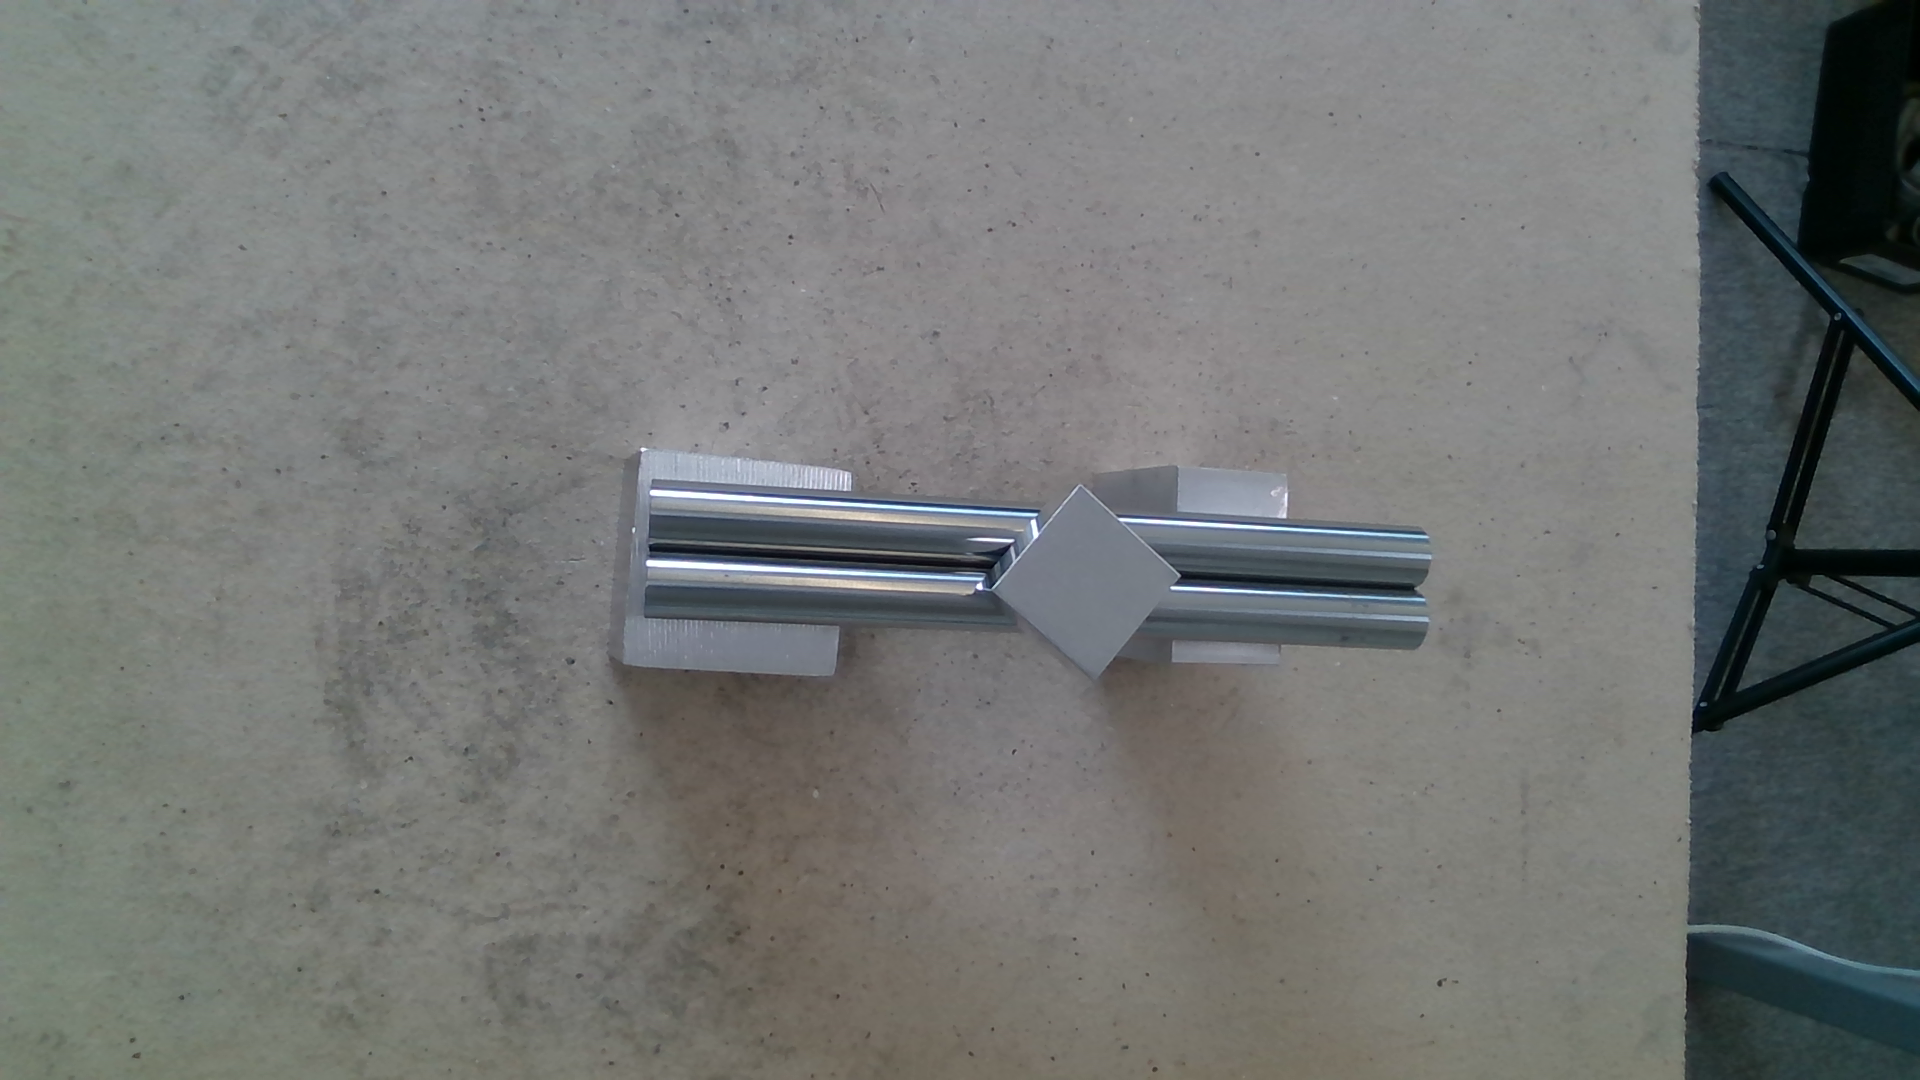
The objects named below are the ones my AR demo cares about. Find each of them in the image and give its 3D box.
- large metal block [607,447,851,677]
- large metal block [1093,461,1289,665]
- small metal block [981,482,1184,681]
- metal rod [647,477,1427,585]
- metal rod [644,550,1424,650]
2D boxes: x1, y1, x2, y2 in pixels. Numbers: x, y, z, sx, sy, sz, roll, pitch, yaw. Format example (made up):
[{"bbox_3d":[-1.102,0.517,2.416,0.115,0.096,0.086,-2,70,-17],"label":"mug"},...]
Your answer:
[{"bbox_3d":[-0.091,0.009,0.539,0.080,0.050,0.080,5,88,-20],"label":"large metal block"},{"bbox_3d":[0.095,0.010,0.593,0.050,0.080,0.080,3,89,-20],"label":"large metal block"},{"bbox_3d":[0.043,0.015,0.498,0.050,0.025,0.050,42,82,-10],"label":"small metal block"},{"bbox_3d":[0.036,-0.002,0.522,0.300,0.025,0.025,3,89,-13],"label":"metal rod"},{"bbox_3d":[0.034,0.024,0.522,0.300,0.025,0.025,3,89,-13],"label":"metal rod"}]
